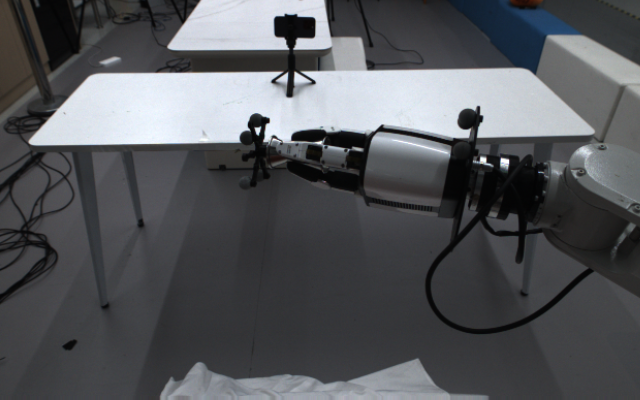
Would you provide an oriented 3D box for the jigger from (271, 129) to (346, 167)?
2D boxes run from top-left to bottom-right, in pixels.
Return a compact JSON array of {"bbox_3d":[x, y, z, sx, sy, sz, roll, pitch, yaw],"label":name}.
[{"bbox_3d":[-0.021,-0.059,0.572,0.071,0.043,0.043,4,34,15],"label":"jigger"}]
